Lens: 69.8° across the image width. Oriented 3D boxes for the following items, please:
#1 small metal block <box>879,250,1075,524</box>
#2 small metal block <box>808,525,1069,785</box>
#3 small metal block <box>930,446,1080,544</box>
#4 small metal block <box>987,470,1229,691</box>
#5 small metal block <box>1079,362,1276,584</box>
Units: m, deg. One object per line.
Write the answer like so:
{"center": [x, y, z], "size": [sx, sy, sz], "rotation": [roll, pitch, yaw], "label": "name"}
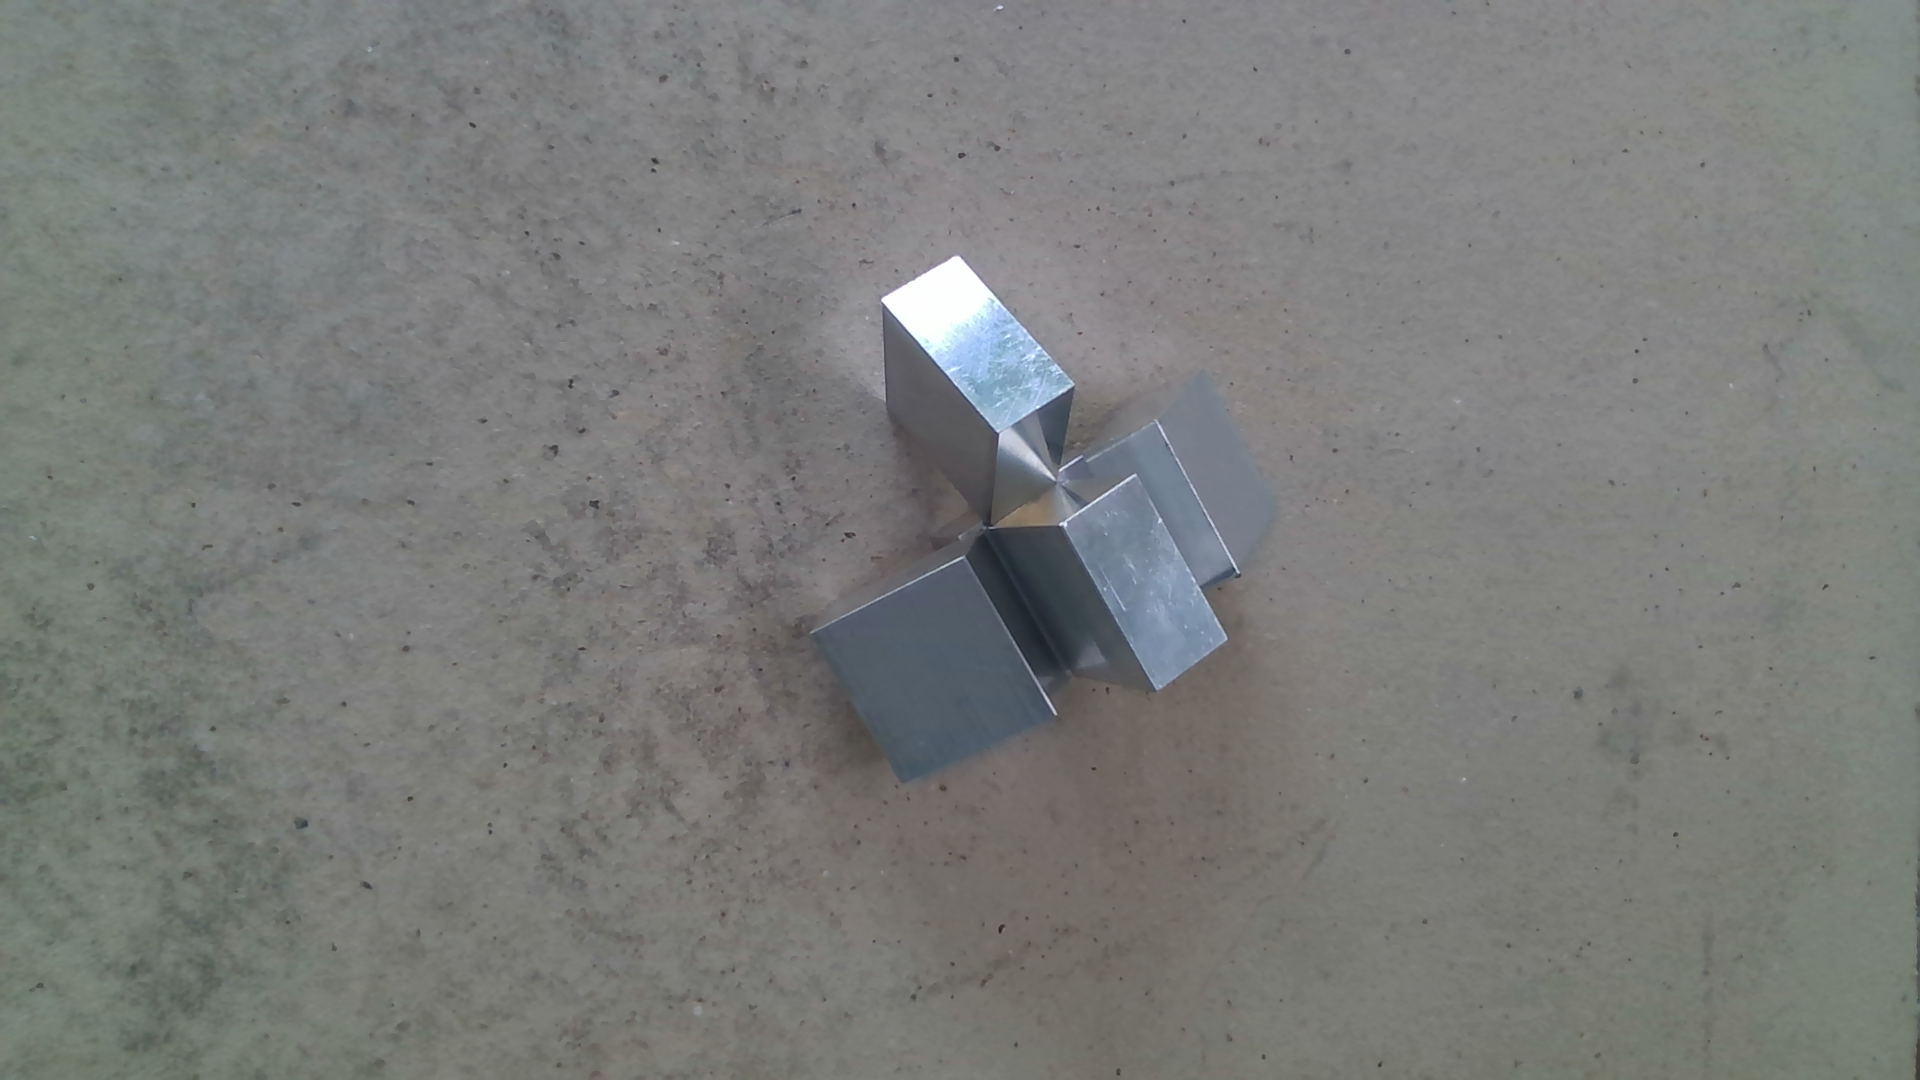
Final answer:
{"center": [0.003, -0.040, 0.372], "size": [0.025, 0.050, 0.050], "rotation": [-33, 68, -17], "label": "small metal block"}
{"center": [-0.005, 0.032, 0.379], "size": [0.050, 0.025, 0.050], "rotation": [-27, 101, 19], "label": "small metal block"}
{"center": [0.028, 0.006, 0.405], "size": [0.050, 0.025, 0.050], "rotation": [-33, 99, -17], "label": "small metal block"}
{"center": [0.038, 0.010, 0.368], "size": [0.025, 0.050, 0.050], "rotation": [-34, 101, -17], "label": "small metal block"}
{"center": [0.065, -0.018, 0.405], "size": [0.050, 0.025, 0.050], "rotation": [60, 33, -10], "label": "small metal block"}
